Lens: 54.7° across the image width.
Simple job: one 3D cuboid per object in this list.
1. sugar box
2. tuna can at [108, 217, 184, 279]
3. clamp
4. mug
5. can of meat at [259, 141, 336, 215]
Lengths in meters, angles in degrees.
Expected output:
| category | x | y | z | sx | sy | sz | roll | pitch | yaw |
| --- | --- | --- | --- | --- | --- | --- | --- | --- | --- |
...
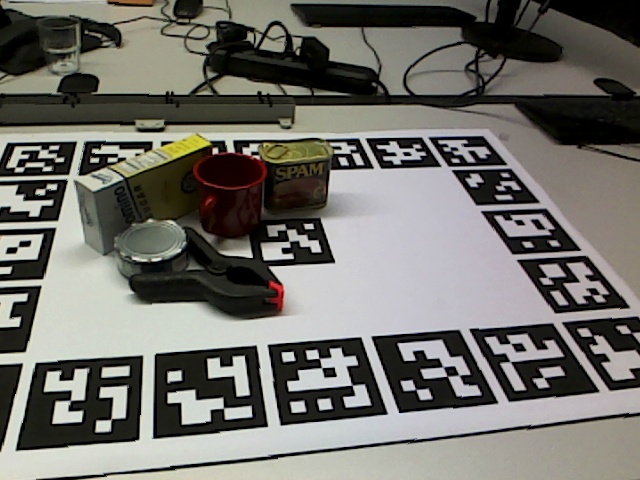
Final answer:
| category | x | y | z | sx | sy | sz | roll | pitch | yaw |
| --- | --- | --- | --- | --- | --- | --- | --- | --- | --- |
| sugar box | -0.217 | -0.061 | 0.791 | 0.045 | 0.092 | 0.175 | 30 | 41 | 30 |
| tuna can | -0.206 | 0.011 | 0.737 | 0.085 | 0.033 | 0.086 | 4 | 39 | -4 |
| clamp | -0.120 | 0.046 | 0.712 | 0.166 | 0.036 | 0.121 | 23 | 36 | 14 |
| mug | -0.123 | -0.057 | 0.795 | 0.093 | 0.081 | 0.117 | 14 | 39 | 8 |
| can of meat | -0.035 | -0.086 | 0.859 | 0.101 | 0.083 | 0.058 | -7 | 38 | -19 |
